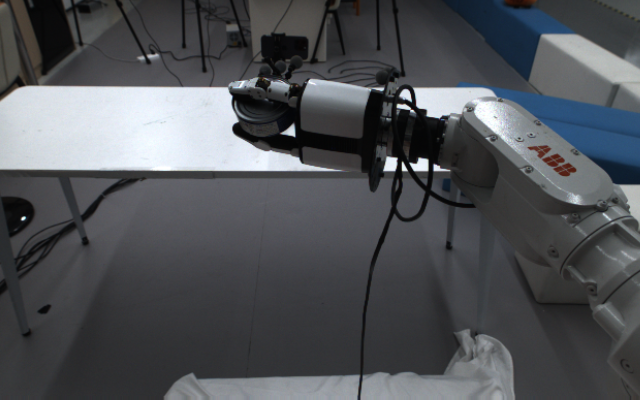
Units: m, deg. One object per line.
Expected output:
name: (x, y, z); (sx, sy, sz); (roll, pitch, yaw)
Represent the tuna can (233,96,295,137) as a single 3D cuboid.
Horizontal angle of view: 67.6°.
tuna can: (-0.074, -0.129, 0.656); (0.085, 0.034, 0.085); (-4, 56, 6)
